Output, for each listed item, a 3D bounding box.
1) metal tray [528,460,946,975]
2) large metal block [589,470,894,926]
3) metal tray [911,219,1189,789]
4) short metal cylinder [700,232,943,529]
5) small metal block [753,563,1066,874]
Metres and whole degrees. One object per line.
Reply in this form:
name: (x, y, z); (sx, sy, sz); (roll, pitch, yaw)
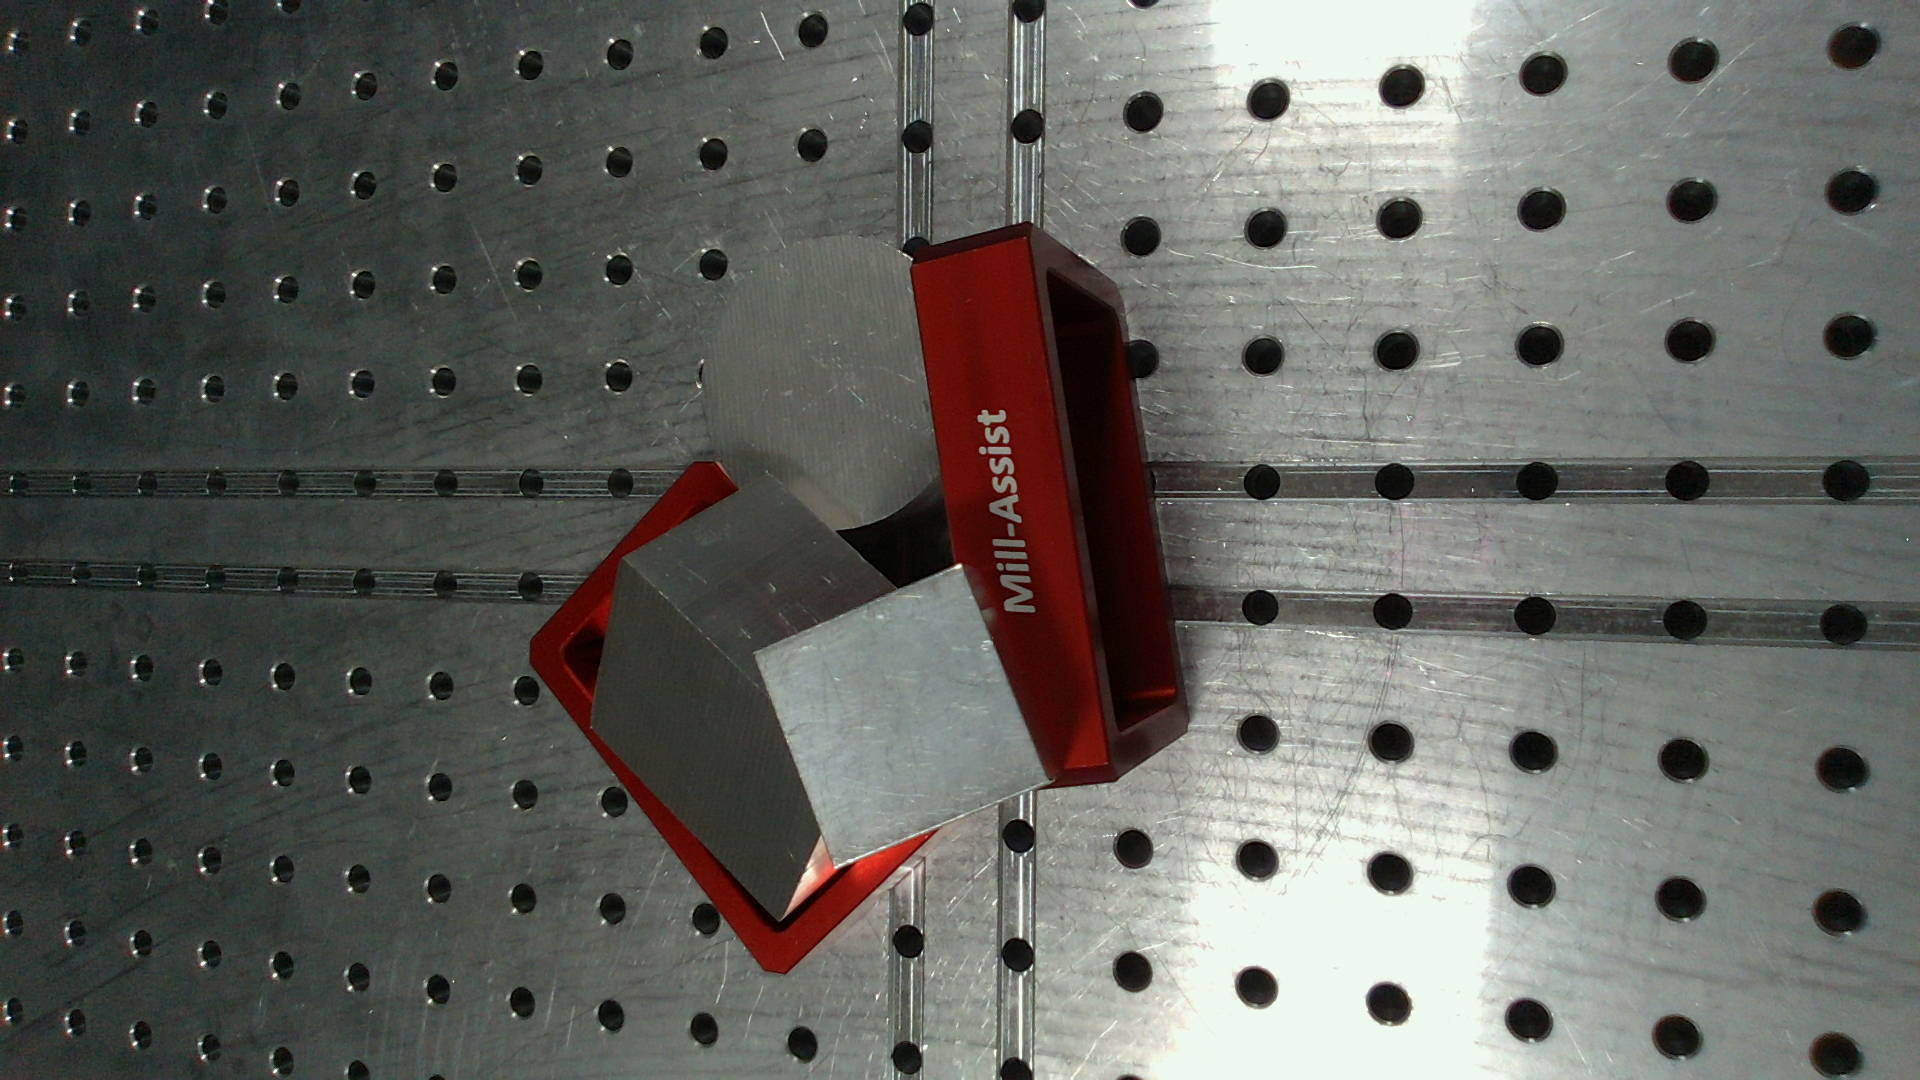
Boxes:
metal tray: (-0.060, 0.051, 0.416); (0.090, 0.030, 0.130); (-45, 76, 14)
large metal block: (-0.050, 0.043, 0.370); (0.080, 0.050, 0.080); (41, 139, 15)
metal tray: (0.027, -0.007, 0.354); (0.030, 0.090, 0.130); (-10, 87, 20)
short metal cylinder: (-0.027, -0.043, 0.395); (0.080, 0.050, 0.080); (0, 90, 20)
small metal block: (-0.010, 0.038, 0.302); (0.050, 0.025, 0.050); (-23, 83, 7)
